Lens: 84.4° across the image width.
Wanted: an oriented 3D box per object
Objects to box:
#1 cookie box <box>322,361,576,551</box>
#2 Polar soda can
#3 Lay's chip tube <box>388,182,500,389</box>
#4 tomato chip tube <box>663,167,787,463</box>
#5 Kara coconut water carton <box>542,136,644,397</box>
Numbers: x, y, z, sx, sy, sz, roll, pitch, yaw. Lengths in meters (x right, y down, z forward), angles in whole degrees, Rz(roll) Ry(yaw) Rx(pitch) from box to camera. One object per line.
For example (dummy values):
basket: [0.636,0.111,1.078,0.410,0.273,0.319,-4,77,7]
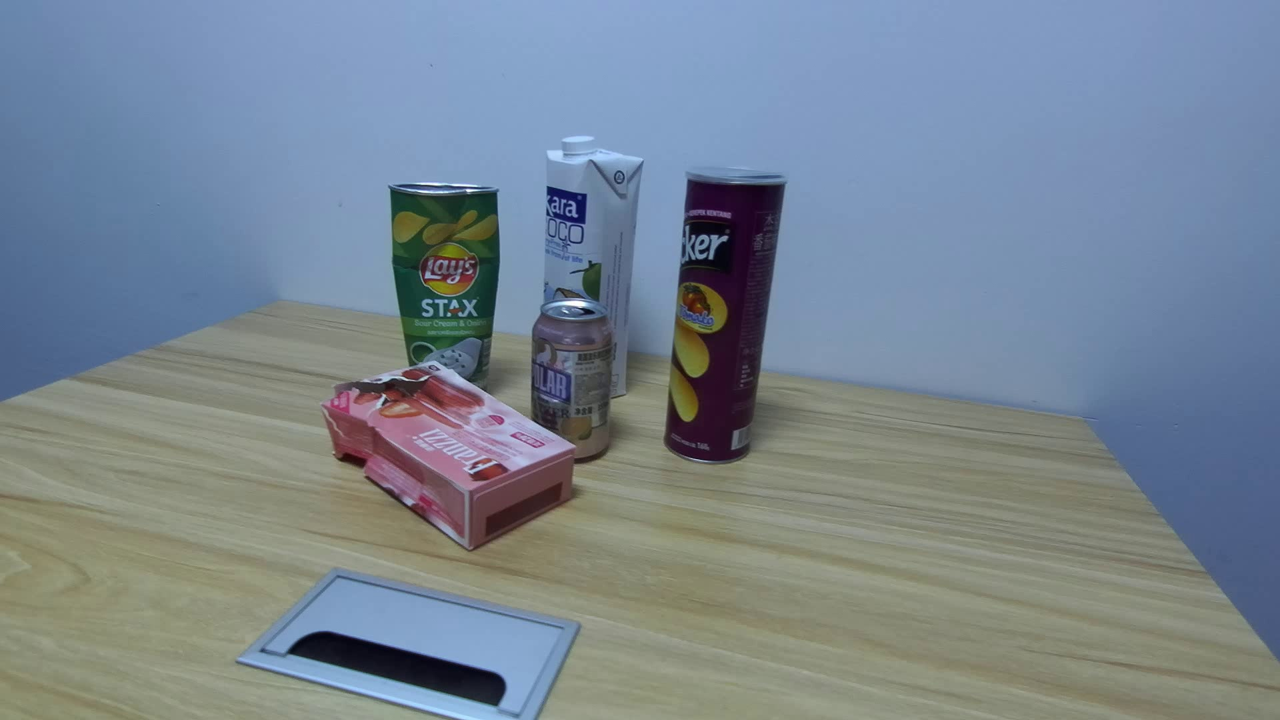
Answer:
cookie box: [-0.146,0.063,0.540,0.185,0.059,0.105,21,30,35]
Polar soda can: [-0.056,0.016,0.585,0.067,0.125,0.067,2,20,-1]
Lay's chip tube: [-0.175,-0.058,0.648,0.068,0.199,0.075,21,28,35]
tomato chip tube: [0.067,-0.034,0.581,0.078,0.234,0.078,3,21,-1]
Kara coconut water carton: [-0.049,-0.084,0.672,0.076,0.245,0.076,-12,27,-37]
